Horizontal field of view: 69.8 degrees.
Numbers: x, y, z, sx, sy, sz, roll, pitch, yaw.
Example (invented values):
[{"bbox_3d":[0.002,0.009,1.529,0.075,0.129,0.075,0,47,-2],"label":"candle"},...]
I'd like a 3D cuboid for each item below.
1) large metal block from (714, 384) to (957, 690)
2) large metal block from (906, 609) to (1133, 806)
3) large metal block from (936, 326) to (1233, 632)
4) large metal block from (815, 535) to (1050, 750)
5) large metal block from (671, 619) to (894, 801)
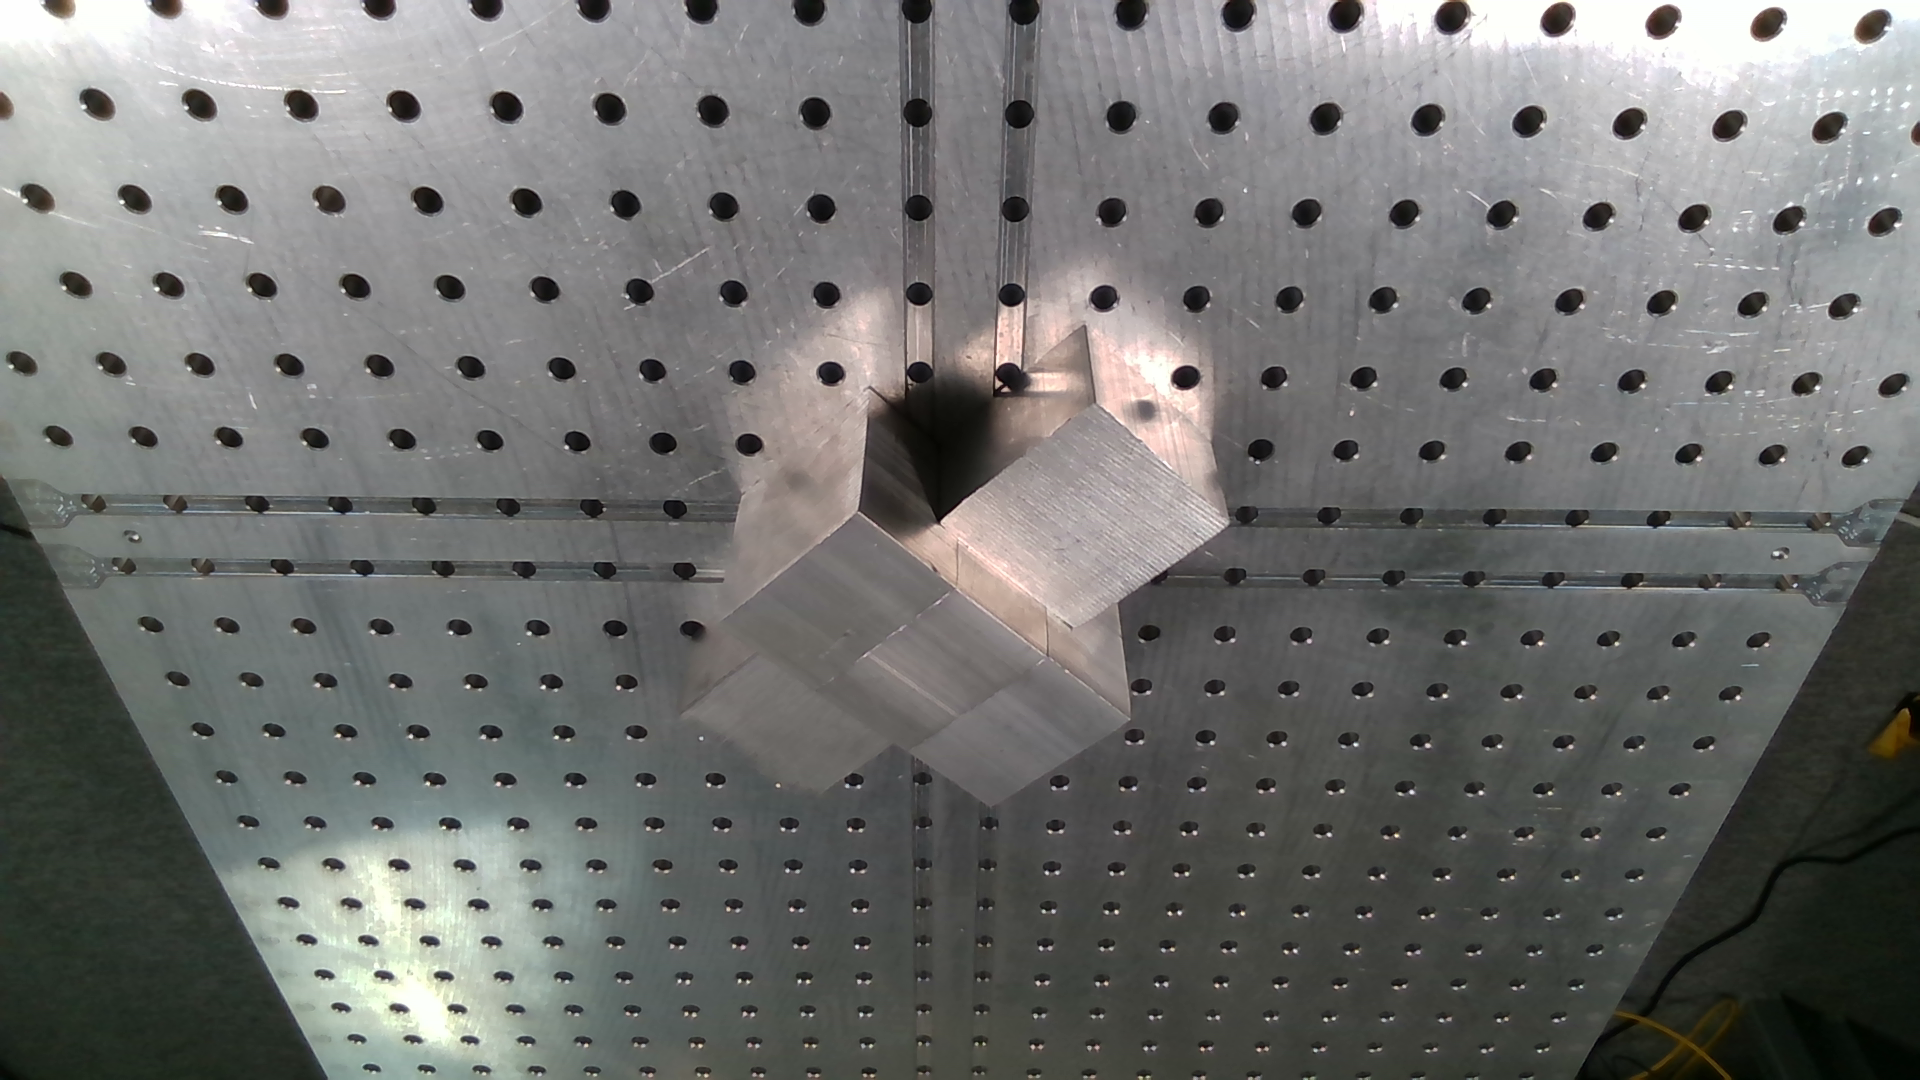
[{"bbox_3d":[-0.047,-0.001,0.546,0.080,0.080,0.050,-37,121,27],"label":"large metal block"},{"bbox_3d":[0.024,0.054,0.592,0.080,0.080,0.050,-37,121,27],"label":"large metal block"},{"bbox_3d":[0.048,-0.022,0.544,0.080,0.050,0.080,38,121,-26],"label":"large metal block"},{"bbox_3d":[-0.011,0.026,0.569,0.080,0.080,0.050,-37,121,27],"label":"large metal block"},{"bbox_3d":[-0.068,0.061,0.617,0.080,0.050,0.080,-36,120,27],"label":"large metal block"}]
